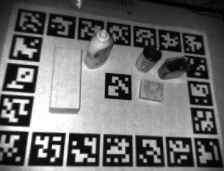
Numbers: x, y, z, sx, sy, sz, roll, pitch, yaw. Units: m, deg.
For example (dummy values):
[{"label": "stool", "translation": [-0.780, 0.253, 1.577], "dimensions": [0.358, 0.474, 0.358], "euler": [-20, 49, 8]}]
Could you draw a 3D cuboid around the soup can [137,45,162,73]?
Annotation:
[{"label": "soup can", "translation": [0.138, -0.095, 0.797], "dimensions": [0.068, 0.102, 0.068], "euler": [3, 72, -10]}]

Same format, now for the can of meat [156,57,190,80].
[{"label": "can of meat", "translation": [0.231, -0.063, 0.827], "dimensions": [0.102, 0.083, 0.057], "euler": [-11, 74, -18]}]

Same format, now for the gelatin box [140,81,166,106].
[{"label": "gelatin box", "translation": [0.152, 0.029, 0.801], "dimensions": [0.089, 0.030, 0.073], "euler": [12, 71, -6]}]

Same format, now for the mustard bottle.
[{"label": "mustard bottle", "translation": [-0.047, -0.108, 0.726], "dimensions": [0.097, 0.191, 0.058], "euler": [-23, 76, -19]}]

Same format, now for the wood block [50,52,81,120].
[{"label": "wood block", "translation": [-0.151, 0.002, 0.714], "dimensions": [0.091, 0.090, 0.205], "euler": [4, 67, -12]}]
